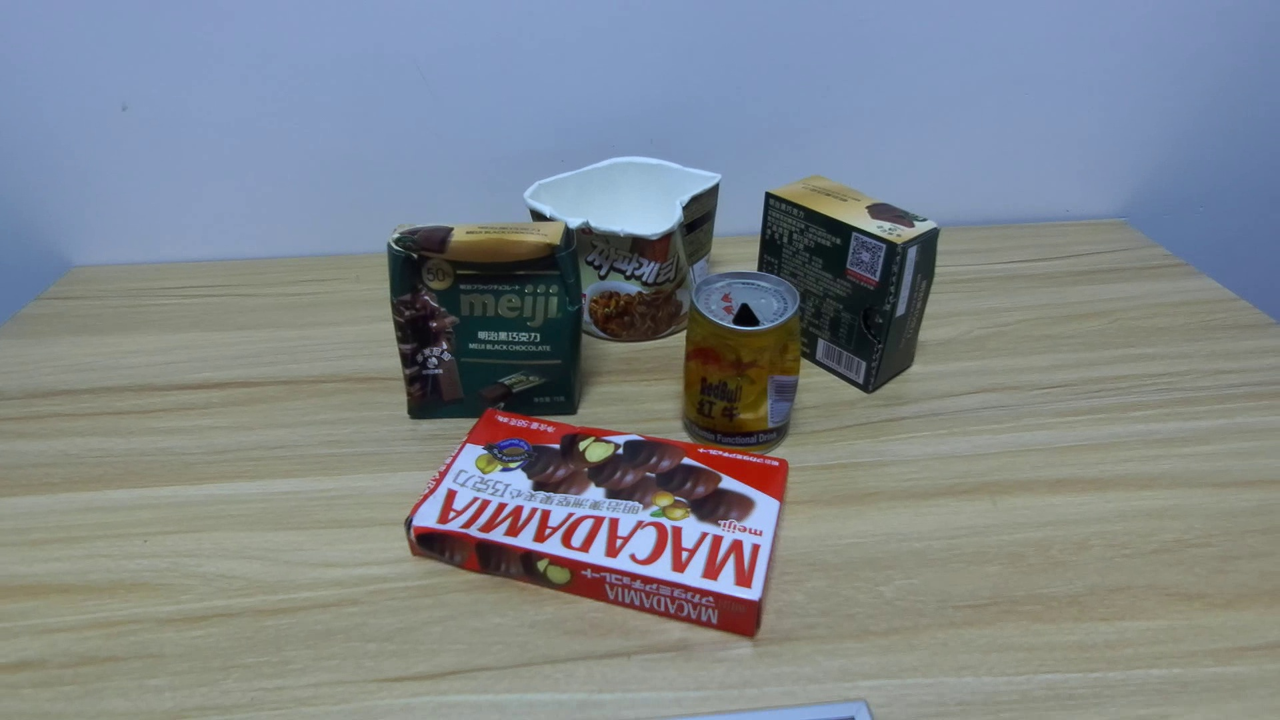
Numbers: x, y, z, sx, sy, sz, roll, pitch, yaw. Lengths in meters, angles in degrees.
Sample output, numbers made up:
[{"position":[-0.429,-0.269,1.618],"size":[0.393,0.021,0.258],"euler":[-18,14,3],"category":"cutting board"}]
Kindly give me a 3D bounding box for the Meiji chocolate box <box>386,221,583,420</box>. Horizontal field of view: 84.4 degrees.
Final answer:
[{"position":[-0.093,-0.026,0.440],"size":[0.117,0.117,0.051],"euler":[-2,27,0],"category":"Meiji chocolate box"}]

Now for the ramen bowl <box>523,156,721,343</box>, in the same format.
[{"position":[-0.016,-0.084,0.527],"size":[0.133,0.098,0.113],"euler":[11,39,15],"category":"ramen bowl"}]

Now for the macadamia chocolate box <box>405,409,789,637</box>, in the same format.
[{"position":[-0.020,0.075,0.369],"size":[0.182,0.028,0.106],"euler":[8,36,15],"category":"macadamia chocolate box"}]

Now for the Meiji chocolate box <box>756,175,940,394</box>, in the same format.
[{"position":[0.136,-0.053,0.471],"size":[0.058,0.111,0.112],"euler":[-24,41,-31],"category":"Meiji chocolate box"}]

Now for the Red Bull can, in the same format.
[{"position":[0.057,0.002,0.407],"size":[0.072,0.092,0.072],"euler":[0,35,0],"category":"Red Bull can"}]
